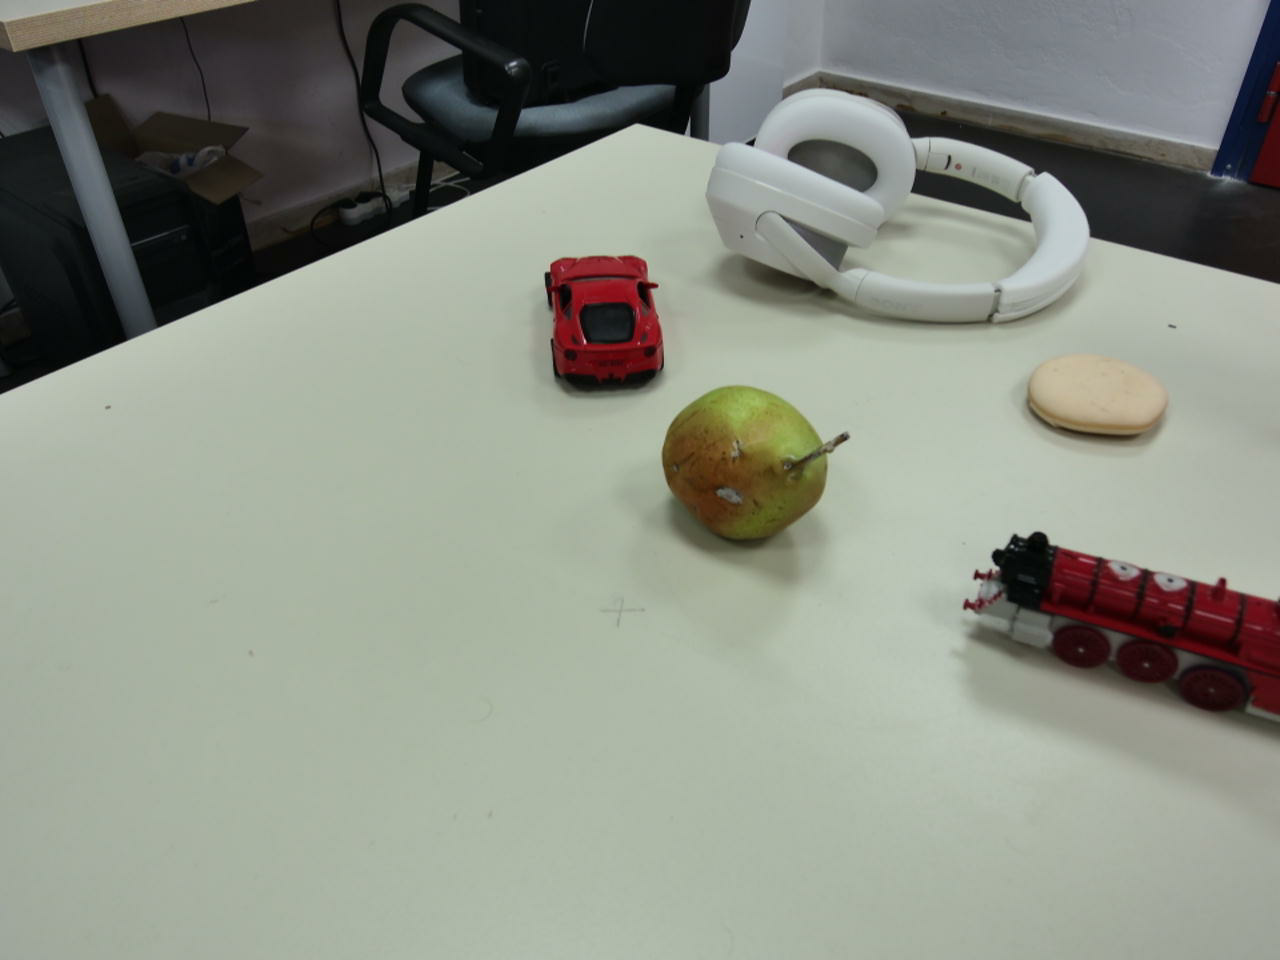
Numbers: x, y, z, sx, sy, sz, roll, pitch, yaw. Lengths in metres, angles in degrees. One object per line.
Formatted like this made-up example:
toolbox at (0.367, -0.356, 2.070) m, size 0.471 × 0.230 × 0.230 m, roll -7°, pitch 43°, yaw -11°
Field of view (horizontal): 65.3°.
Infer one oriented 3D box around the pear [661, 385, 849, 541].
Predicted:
pear at (0.043, -0.009, 0.416) m, size 0.068 × 0.069 × 0.070 m, roll 1°, pitch 36°, yaw 1°
